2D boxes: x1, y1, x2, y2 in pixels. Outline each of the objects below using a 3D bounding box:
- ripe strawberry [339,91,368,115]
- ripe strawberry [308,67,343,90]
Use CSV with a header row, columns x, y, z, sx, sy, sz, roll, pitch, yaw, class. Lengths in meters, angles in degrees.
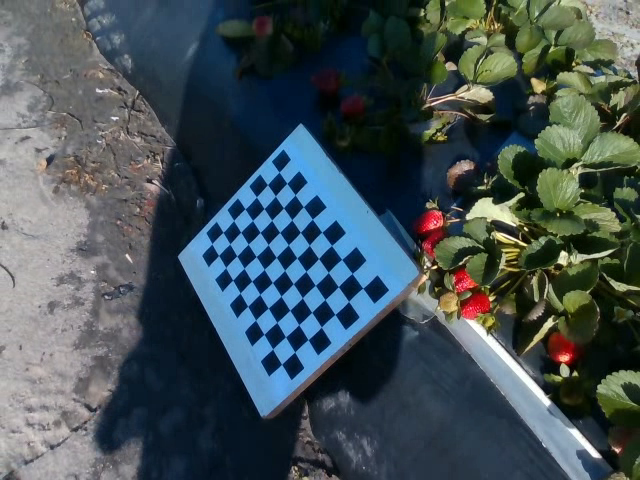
x,y,z,sx,sy,sz,roll,pitch,yaw,class
0.046,-0.197,0.932,0.042,0.039,0.049,1,15,36,ripe strawberry
0.005,-0.246,0.968,0.050,0.051,0.044,1,-30,-36,ripe strawberry
